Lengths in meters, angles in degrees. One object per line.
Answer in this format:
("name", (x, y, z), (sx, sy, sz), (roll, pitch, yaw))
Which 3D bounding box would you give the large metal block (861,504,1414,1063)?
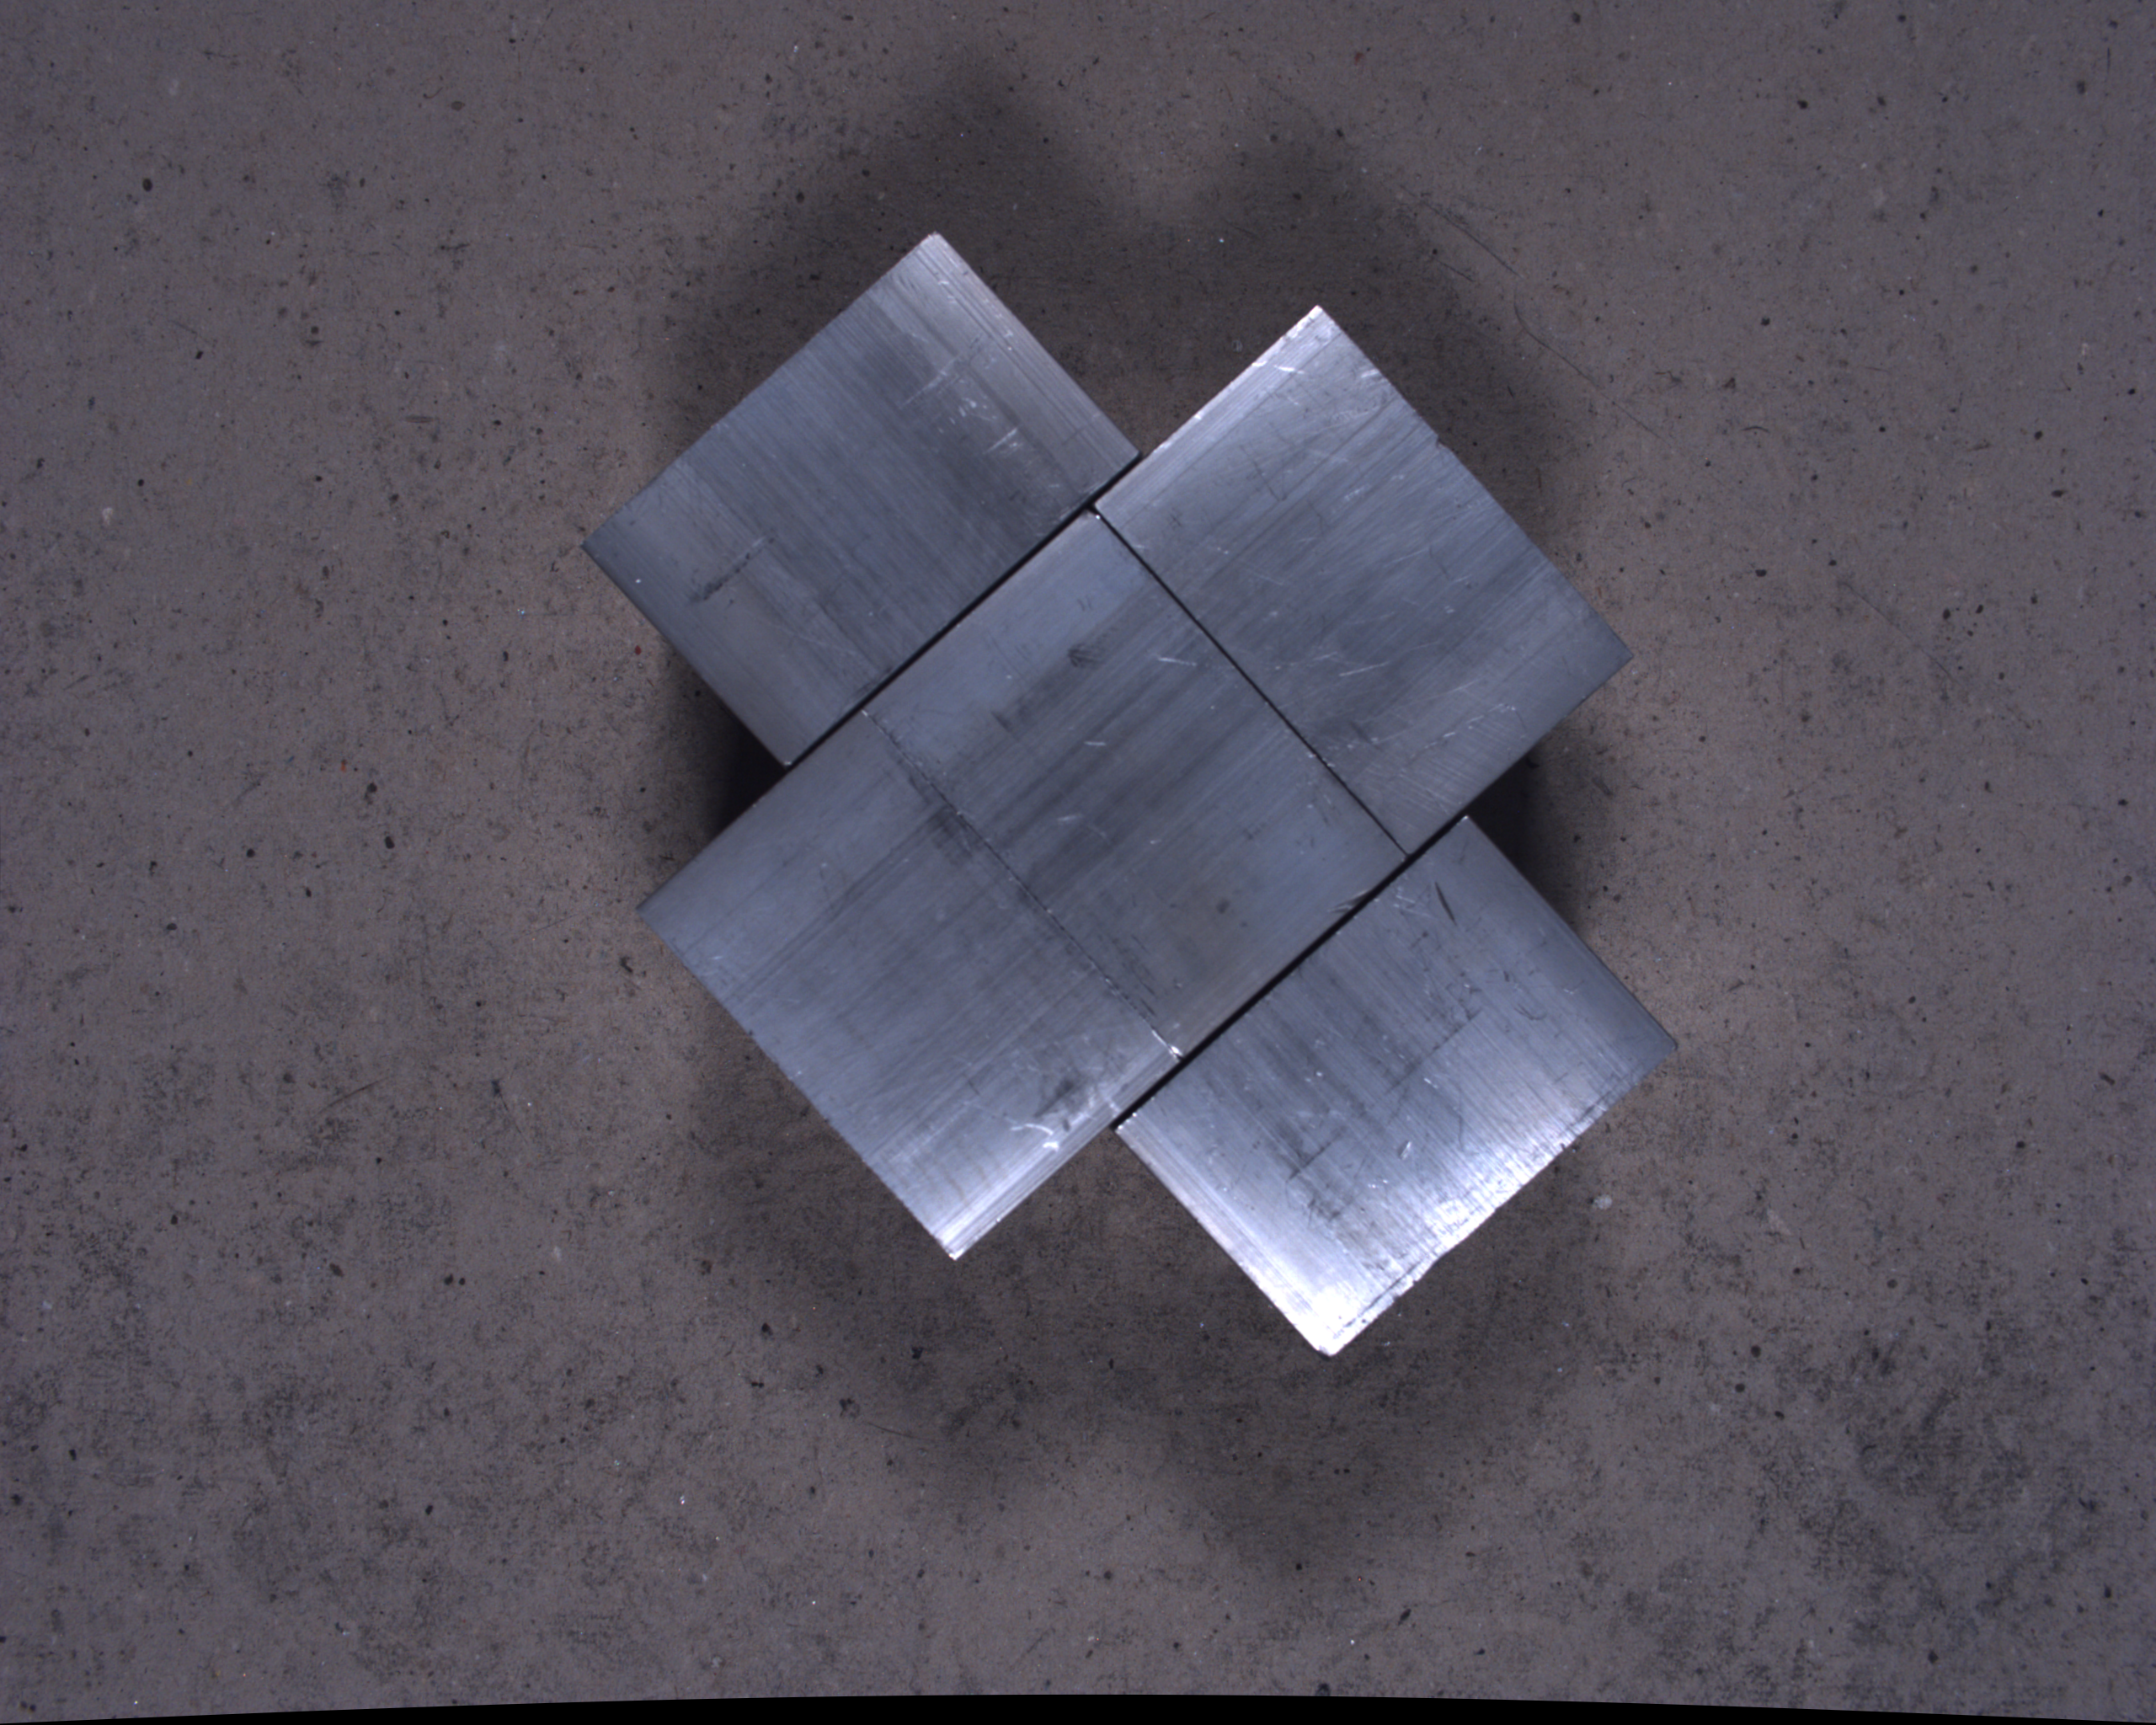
("large metal block", (0.010, -0.013, 0.384), (0.050, 0.080, 0.080), (-42, 91, 0))

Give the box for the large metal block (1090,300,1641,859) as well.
("large metal block", (0.047, -0.047, 0.385), (0.050, 0.080, 0.080), (-42, 91, 0))

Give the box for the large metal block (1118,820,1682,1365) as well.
("large metal block", (0.053, 0.038, 0.385), (0.080, 0.080, 0.050), (-42, 91, 0))

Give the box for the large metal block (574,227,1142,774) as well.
("large metal block", (-0.036, -0.060, 0.384), (0.080, 0.080, 0.050), (-42, 91, 0))

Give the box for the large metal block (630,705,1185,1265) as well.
("large metal block", (-0.028, 0.020, 0.384), (0.050, 0.080, 0.080), (-42, 91, 0))
